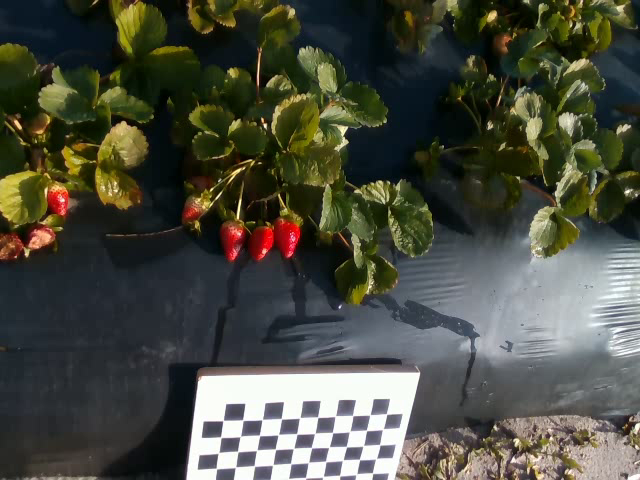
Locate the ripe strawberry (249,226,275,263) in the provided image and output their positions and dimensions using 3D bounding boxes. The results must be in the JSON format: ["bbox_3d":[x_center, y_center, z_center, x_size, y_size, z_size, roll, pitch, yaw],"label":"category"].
[{"bbox_3d":[-0.063,0.004,0.676,0.030,0.039,0.037,13,-48,-18],"label":"ripe strawberry"}]

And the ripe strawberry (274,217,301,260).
[{"bbox_3d":[-0.036,0.004,0.687,0.035,0.041,0.034,-2,-31,-14],"label":"ripe strawberry"}]

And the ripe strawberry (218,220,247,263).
[{"bbox_3d":[-0.092,0.002,0.675,0.031,0.046,0.023,2,4,-15],"label":"ripe strawberry"}]
